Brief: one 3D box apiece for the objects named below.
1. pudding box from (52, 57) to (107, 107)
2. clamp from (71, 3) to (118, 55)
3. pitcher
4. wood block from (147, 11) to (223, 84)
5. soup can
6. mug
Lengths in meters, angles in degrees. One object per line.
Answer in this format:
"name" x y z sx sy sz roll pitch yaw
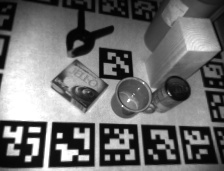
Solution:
"pudding box" -0.081 -0.011 0.558 0.113 0.038 0.090 38 66 3
"clamp" -0.066 -0.155 0.630 0.122 0.036 0.165 34 63 -8
"pitcher" 0.207 -0.201 0.606 0.190 0.242 0.132 2 64 -11
"wood block" 0.182 -0.085 0.566 0.090 0.205 0.090 2 66 -17
"soup can" 0.156 0.016 0.573 0.068 0.102 0.067 5 68 -12
"mug" 0.063 0.032 0.552 0.117 0.081 0.093 36 60 3
